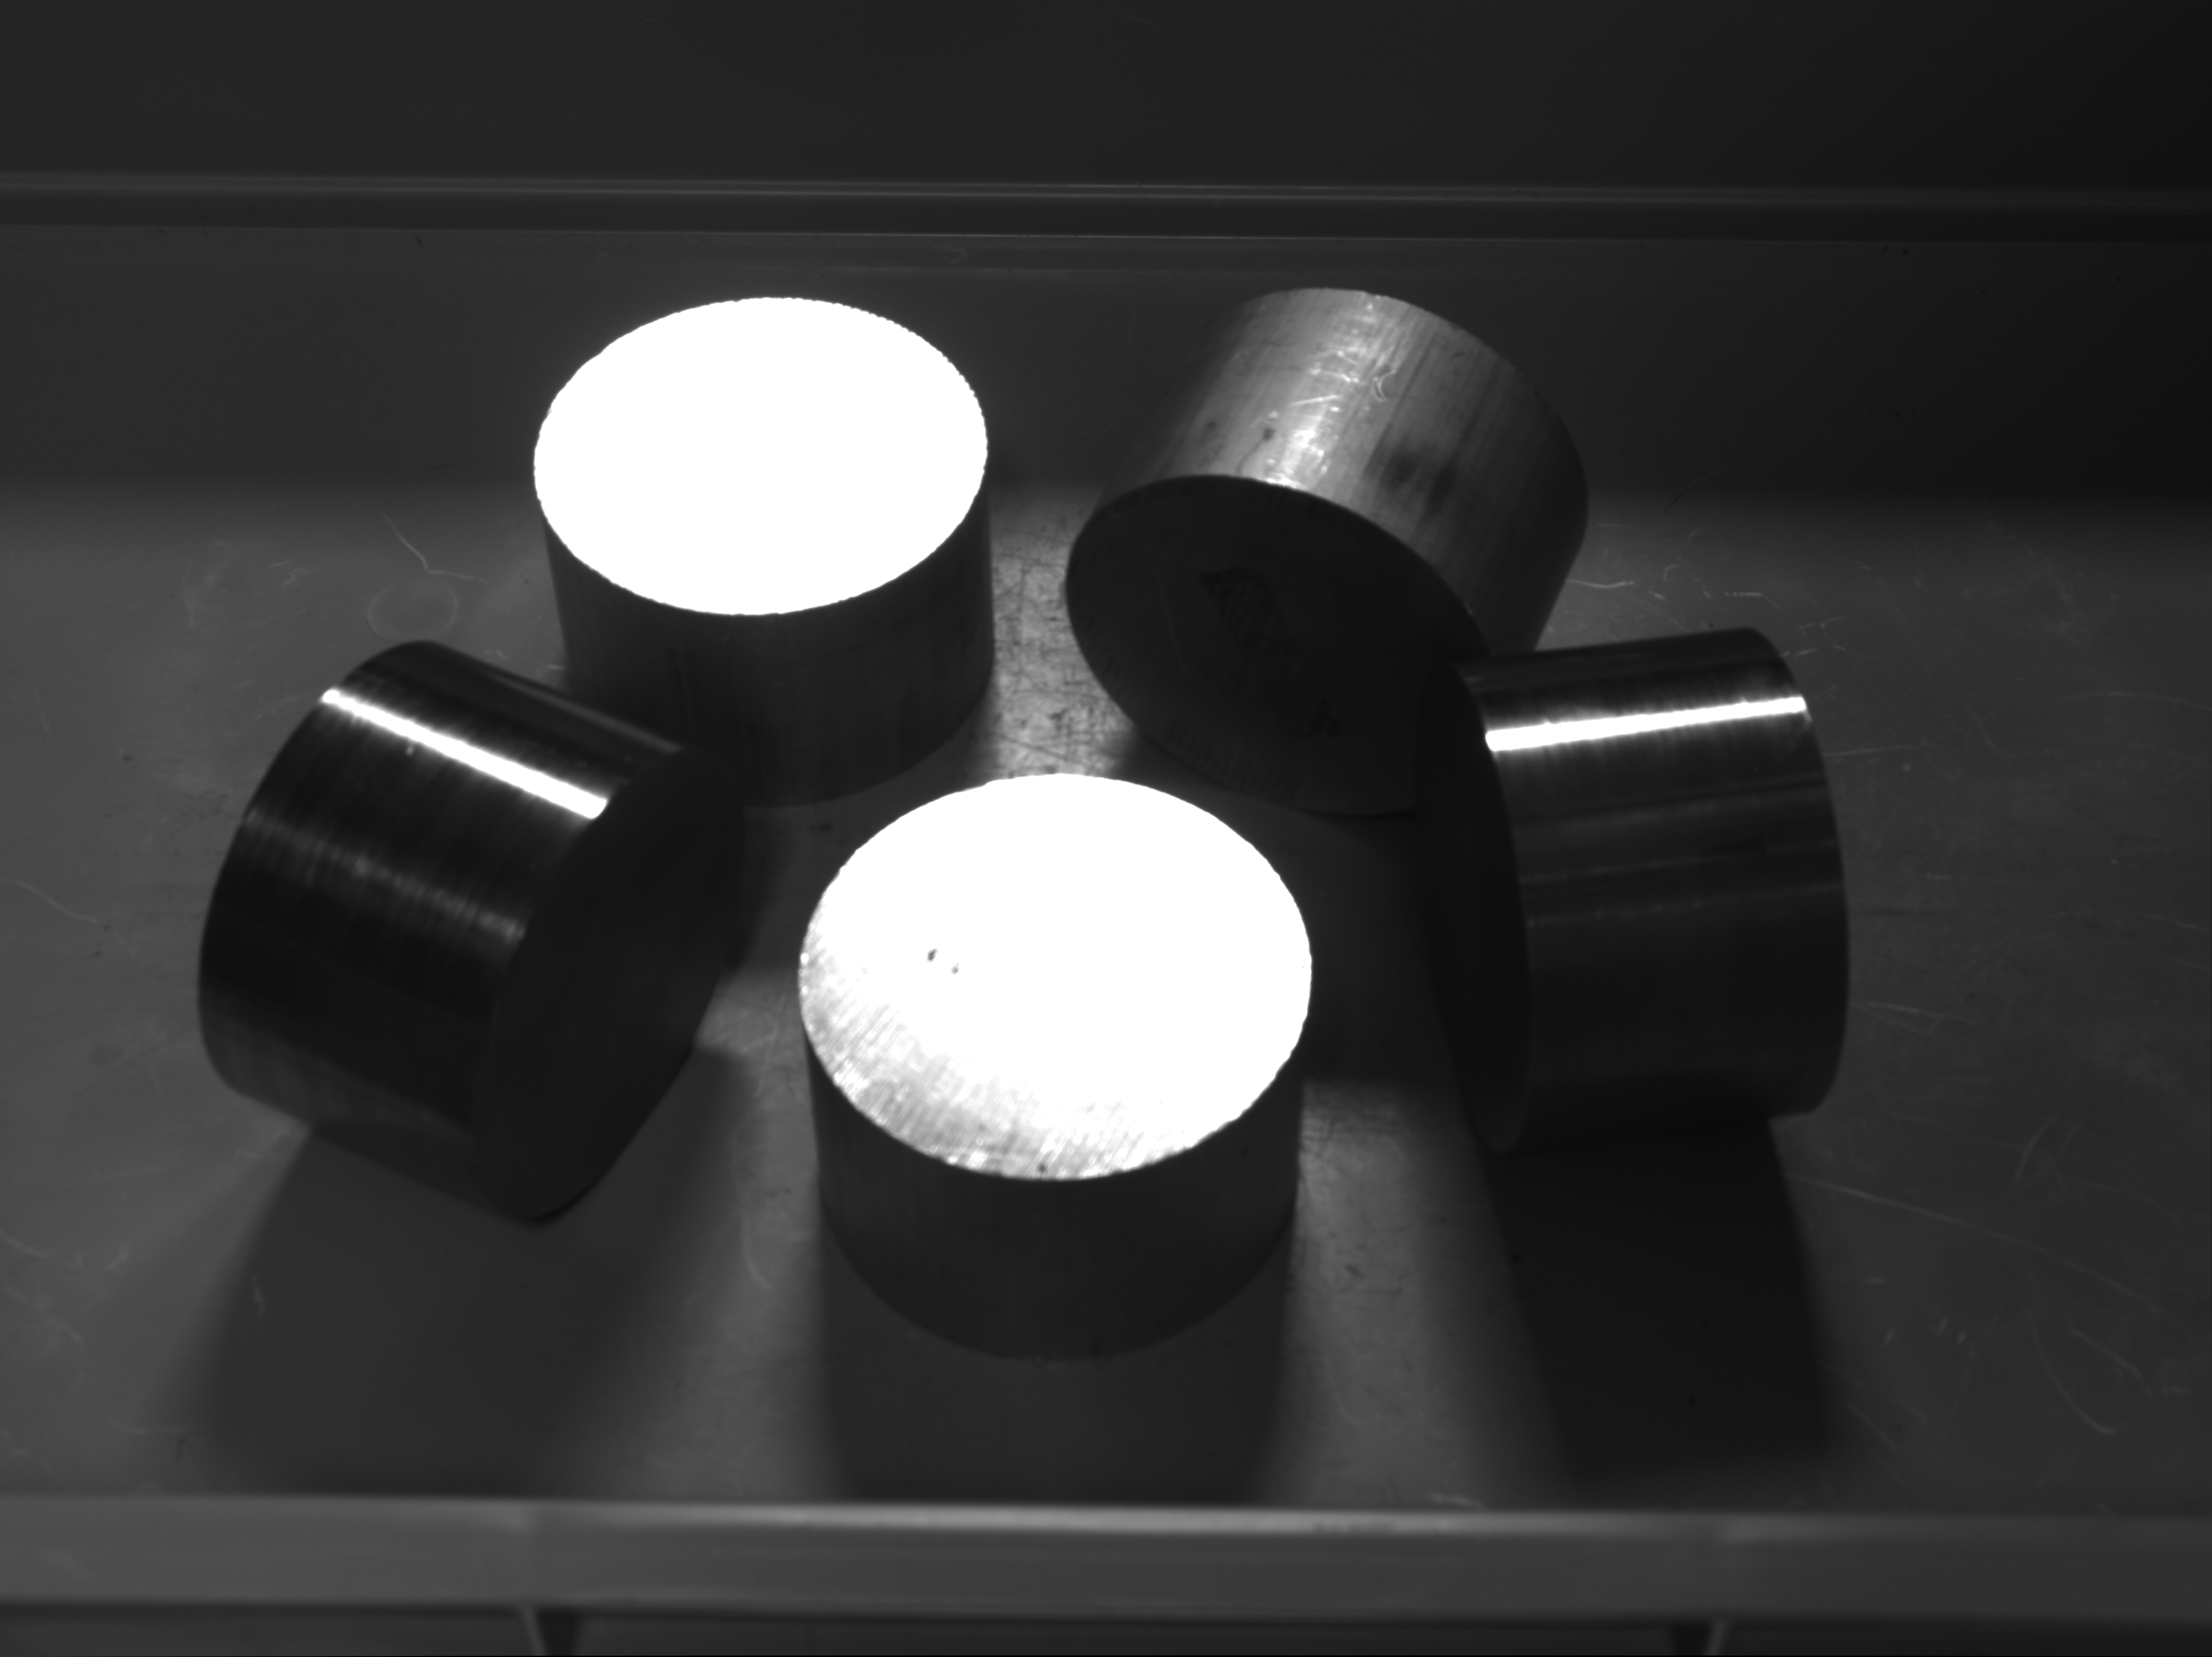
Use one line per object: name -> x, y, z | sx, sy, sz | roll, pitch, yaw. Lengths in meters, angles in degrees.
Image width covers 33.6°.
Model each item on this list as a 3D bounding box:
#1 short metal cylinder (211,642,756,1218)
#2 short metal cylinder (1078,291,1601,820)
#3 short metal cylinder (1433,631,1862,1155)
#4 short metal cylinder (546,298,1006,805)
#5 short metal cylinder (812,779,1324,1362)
short metal cylinder -> -0.099, 0.016, 0.590 | 0.050, 0.080, 0.080 | 21, 53, 17
short metal cylinder -> 0.042, -0.047, 0.646 | 0.080, 0.080, 0.050 | 17, 52, 14
short metal cylinder -> 0.086, 0.010, 0.596 | 0.050, 0.080, 0.080 | -7, 50, -6
short metal cylinder -> -0.059, -0.051, 0.667 | 0.080, 0.050, 0.080 | 0, 50, 0
short metal cylinder -> -0.006, 0.039, 0.591 | 0.080, 0.050, 0.080 | 0, 50, 0
